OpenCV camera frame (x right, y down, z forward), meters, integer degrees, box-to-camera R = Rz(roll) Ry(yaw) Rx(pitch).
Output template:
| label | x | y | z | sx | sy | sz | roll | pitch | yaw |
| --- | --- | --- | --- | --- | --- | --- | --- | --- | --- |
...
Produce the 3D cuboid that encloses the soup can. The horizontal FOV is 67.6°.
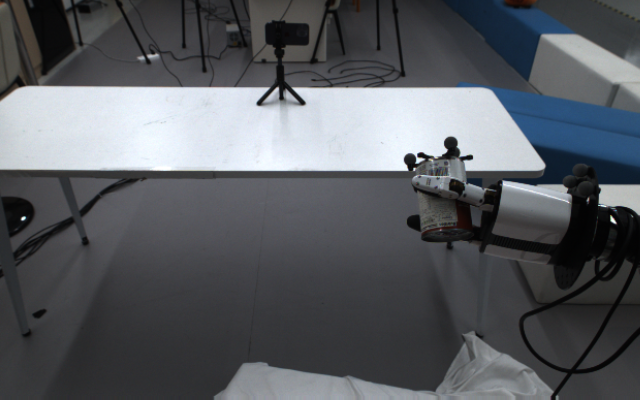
| label | x | y | z | sx | sy | sz | roll | pitch | yaw |
| --- | --- | --- | --- | --- | --- | --- | --- | --- | --- |
| soup can | 0.166 | -0.002 | 0.650 | 0.067 | 0.067 | 0.101 | 0 | 72 | -4 |
